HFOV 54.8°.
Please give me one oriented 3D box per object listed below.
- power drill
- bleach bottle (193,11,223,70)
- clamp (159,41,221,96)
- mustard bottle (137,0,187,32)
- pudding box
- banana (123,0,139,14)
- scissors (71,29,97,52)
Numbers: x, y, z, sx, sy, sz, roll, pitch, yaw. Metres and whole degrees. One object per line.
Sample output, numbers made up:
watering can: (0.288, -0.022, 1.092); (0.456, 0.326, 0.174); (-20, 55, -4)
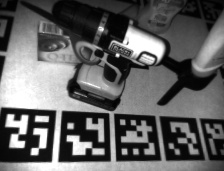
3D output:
power drill: (-0.025, -0.056, 0.390); (0.185, 0.187, 0.057); (16, 55, -6)
bleach bottle: (0.260, -0.107, 0.490); (0.103, 0.251, 0.067); (-15, 66, -15)
clamp: (0.199, -0.052, 0.564); (0.204, 0.036, 0.164); (0, 68, -20)
mustard bottle: (0.141, -0.224, 0.560); (0.097, 0.191, 0.058); (19, 61, -9)
pudding box: (-0.102, -0.106, 0.476); (0.114, 0.090, 0.038); (10, 56, -14)
banana: (0.020, -0.221, 0.594); (0.199, 0.039, 0.073); (-34, 63, -28)
scissors: (-0.094, -0.140, 0.421); (0.203, 0.016, 0.088); (30, 64, -8)
